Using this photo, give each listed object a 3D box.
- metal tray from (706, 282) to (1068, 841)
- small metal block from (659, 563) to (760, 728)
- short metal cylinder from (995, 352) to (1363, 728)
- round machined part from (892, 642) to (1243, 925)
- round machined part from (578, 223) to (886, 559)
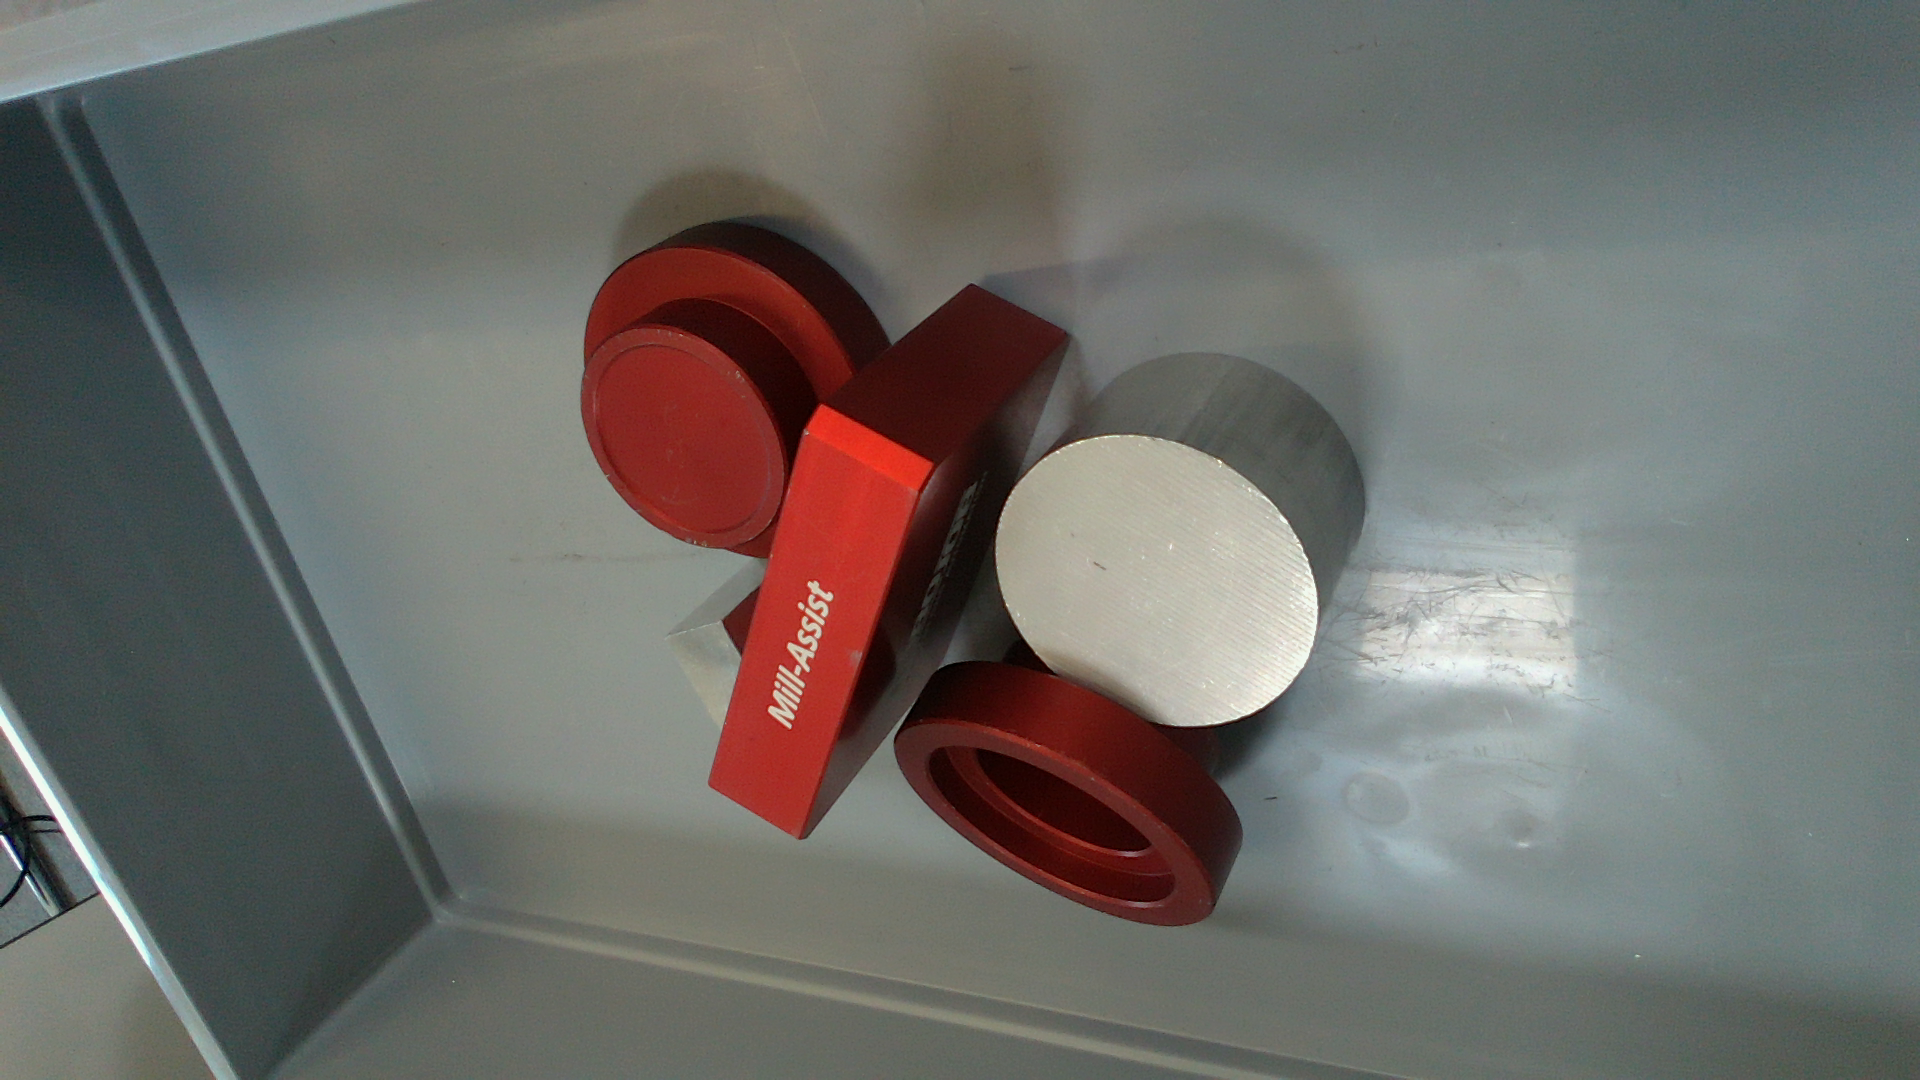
[{"bbox_3d":[-0.020,0.007,0.364,0.030,0.090,0.130,29,128,10],"label":"metal tray"},{"bbox_3d":[-0.058,0.036,0.427,0.025,0.050,0.050,-16,110,35],"label":"small metal block"},{"bbox_3d":[0.055,0.000,0.345,0.080,0.050,0.080,13,124,21],"label":"short metal cylinder"},{"bbox_3d":[0.033,0.064,0.387,0.098,0.042,0.098,24,151,14],"label":"round machined part"},{"bbox_3d":[-0.069,-0.037,0.393,0.098,0.042,0.098,13,124,21],"label":"round machined part"}]
